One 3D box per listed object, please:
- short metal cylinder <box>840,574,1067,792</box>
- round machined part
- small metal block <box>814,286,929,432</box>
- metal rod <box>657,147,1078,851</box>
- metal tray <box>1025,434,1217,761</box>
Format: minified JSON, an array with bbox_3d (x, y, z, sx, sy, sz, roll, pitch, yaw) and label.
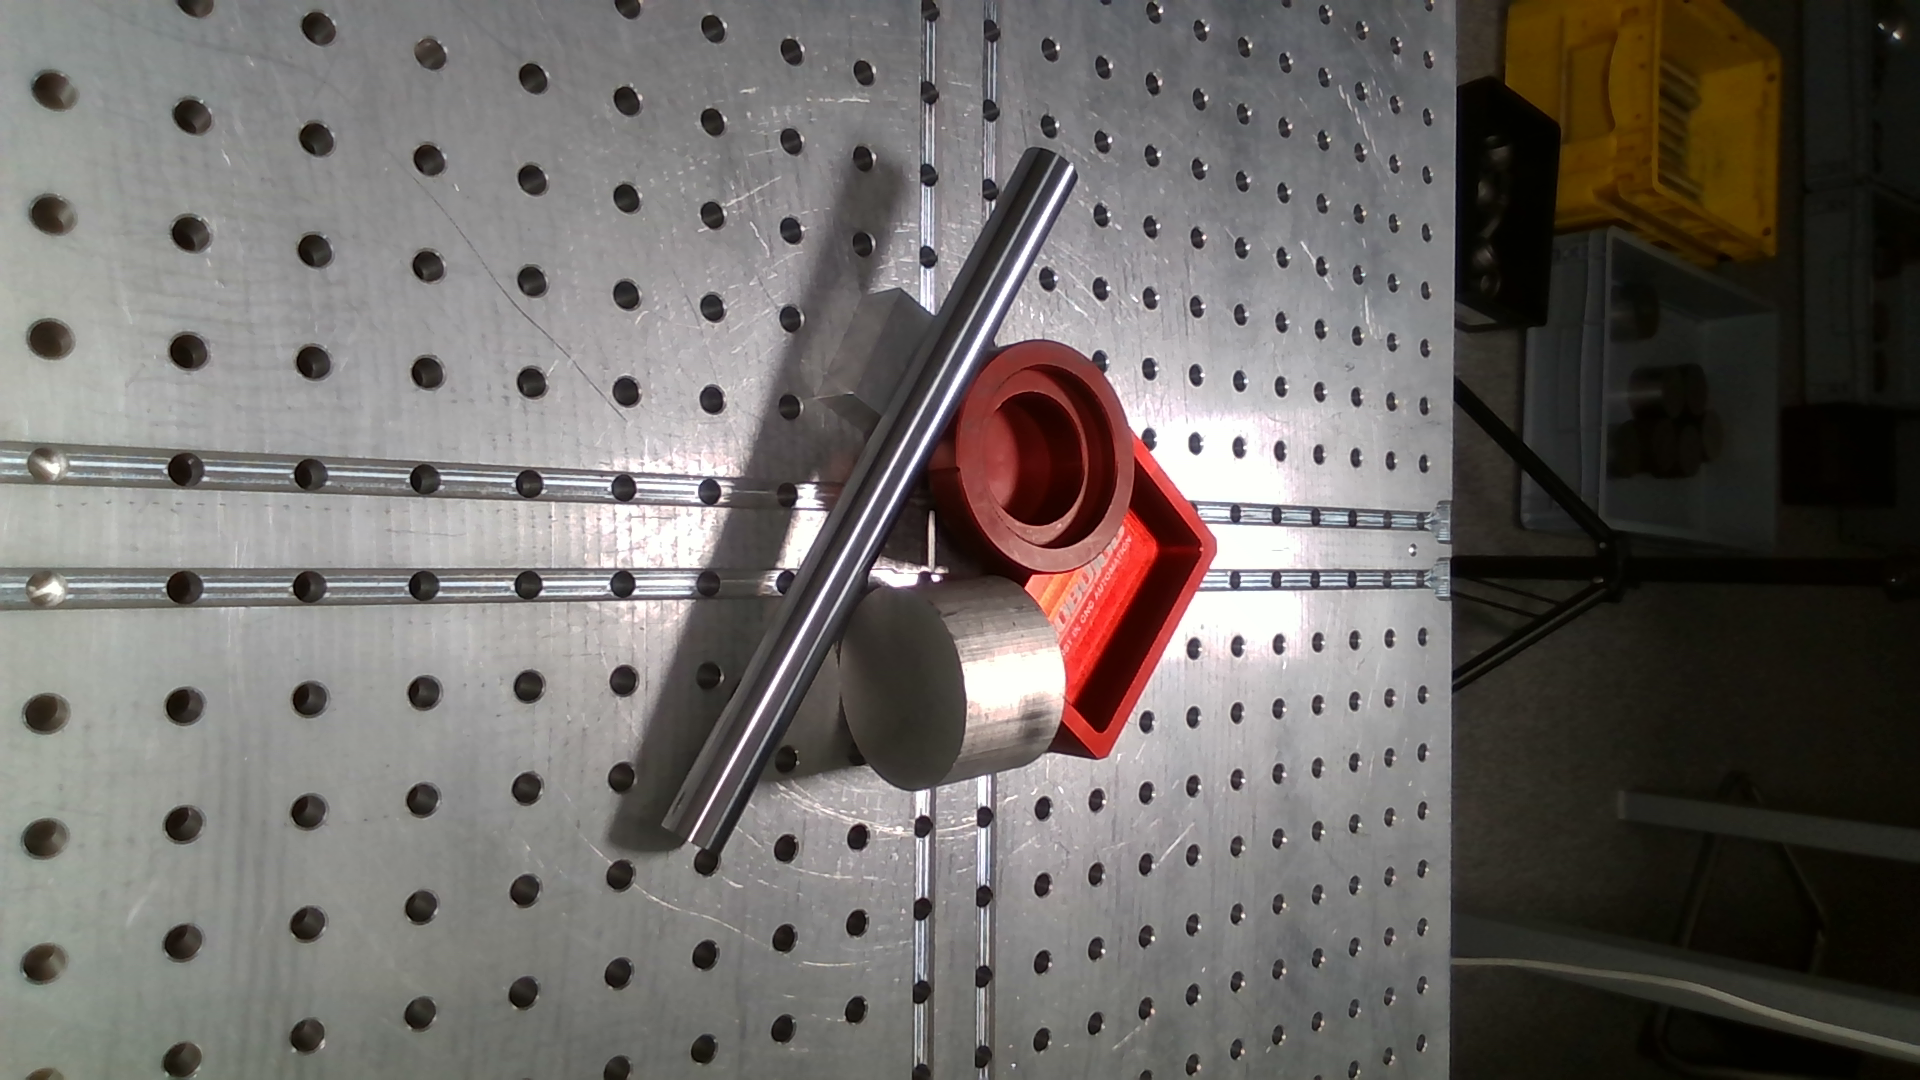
[{"bbox_3d":[-0.004,0.055,0.546,0.050,0.080,0.080,-5,93,-40],"label":"short metal cylinder"},{"bbox_3d":[0.025,-0.034,0.586,0.098,0.042,0.098,2,86,-40],"label":"round machined part"},{"bbox_3d":[-0.025,-0.068,0.566,0.050,0.025,0.050,35,68,-35],"label":"small metal block"},{"bbox_3d":[-0.032,-0.022,0.533,0.025,0.025,0.300,35,77,-35],"label":"metal rod"},{"bbox_3d":[0.060,0.023,0.633,0.090,0.030,0.130,48,61,-30],"label":"metal tray"}]
